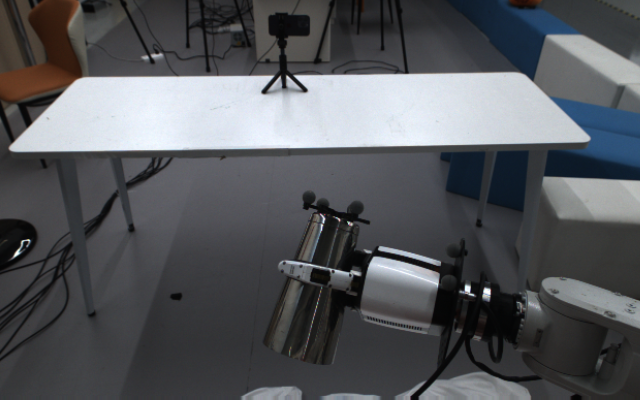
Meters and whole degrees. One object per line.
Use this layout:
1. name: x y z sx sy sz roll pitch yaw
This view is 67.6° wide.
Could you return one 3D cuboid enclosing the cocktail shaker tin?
1. cocktail shaker tin: -0.005 0.106 0.607 0.093 0.170 0.093 16 -7 2
